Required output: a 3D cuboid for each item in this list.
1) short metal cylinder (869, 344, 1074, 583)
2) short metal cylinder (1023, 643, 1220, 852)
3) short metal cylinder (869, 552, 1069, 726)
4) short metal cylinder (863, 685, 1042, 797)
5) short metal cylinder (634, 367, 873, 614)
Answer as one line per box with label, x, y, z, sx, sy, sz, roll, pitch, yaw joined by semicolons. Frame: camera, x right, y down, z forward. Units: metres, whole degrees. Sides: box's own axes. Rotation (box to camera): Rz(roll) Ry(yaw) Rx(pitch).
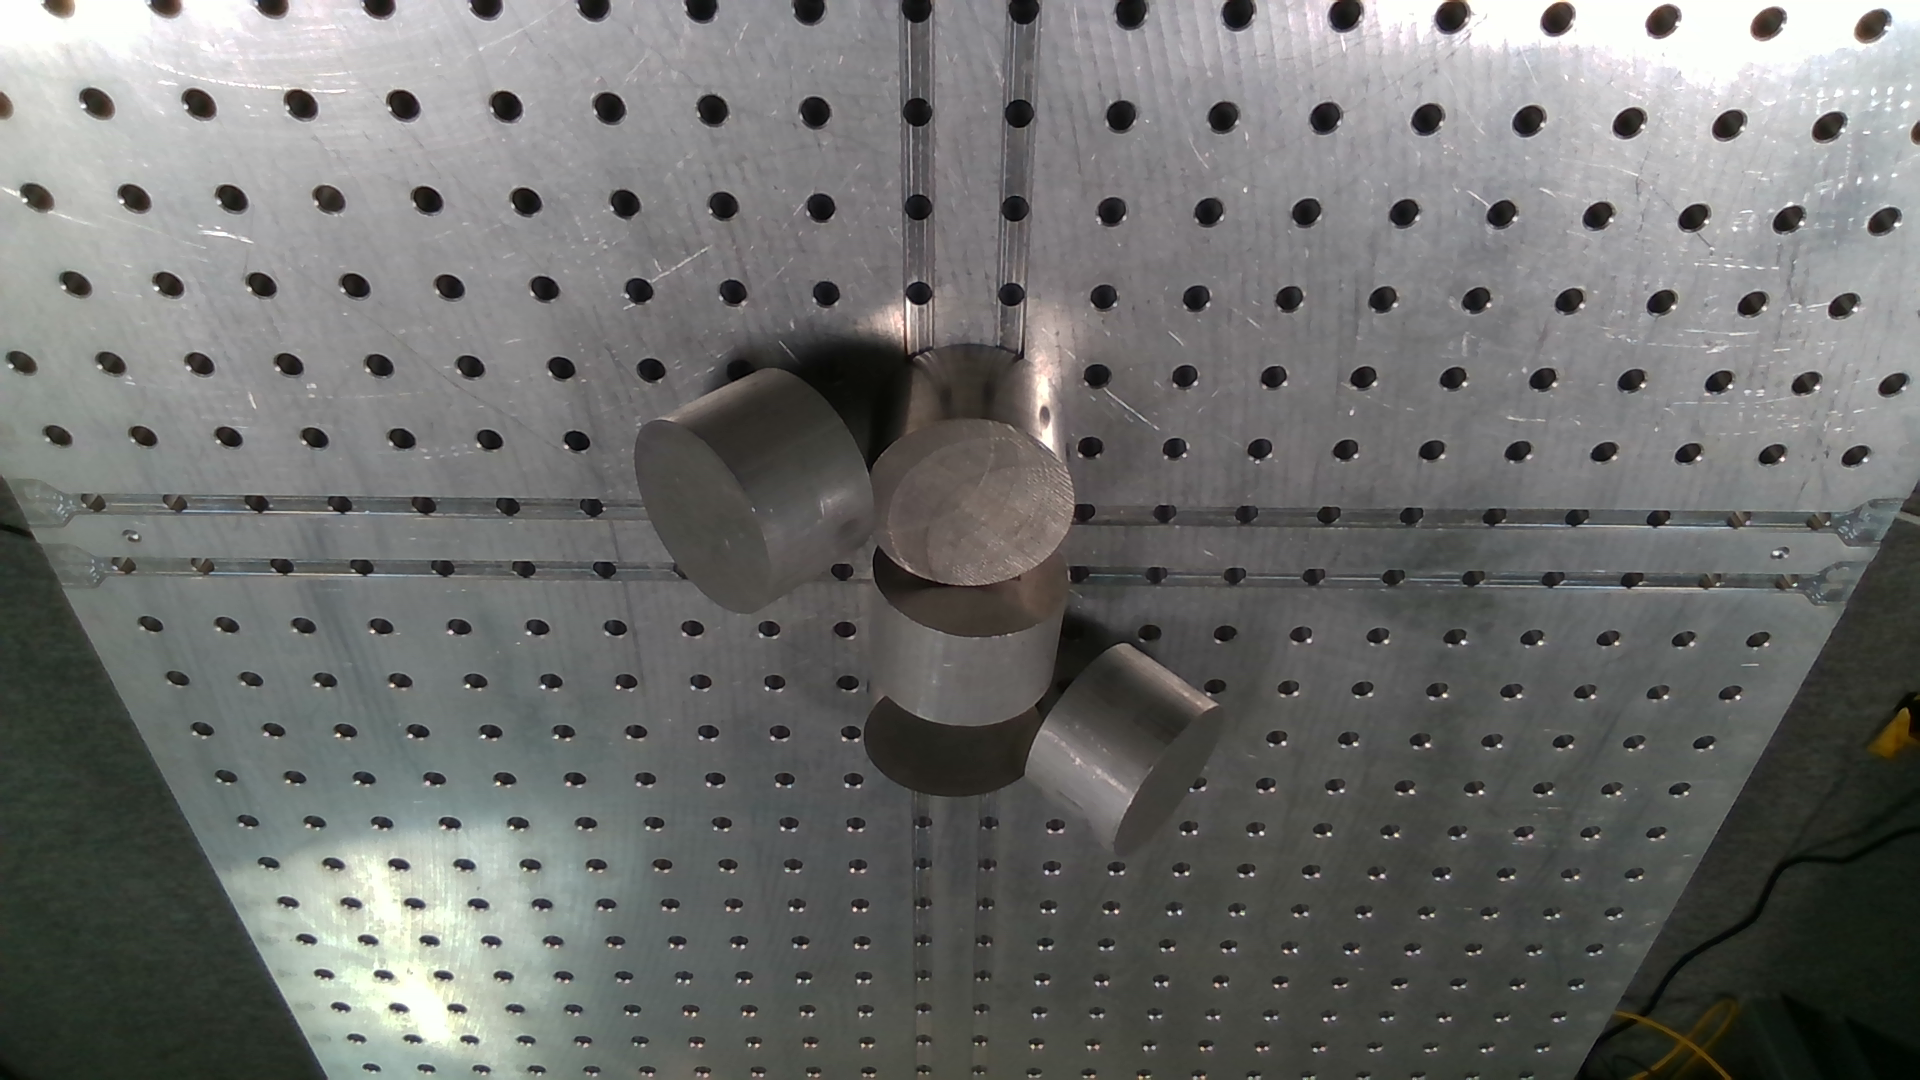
short metal cylinder;0.003;-0.029;0.540;0.080;0.050;0.080;0;130;0
short metal cylinder;0.073;0.093;0.616;0.050;0.080;0.080;35;135;26
short metal cylinder;0.002;0.030;0.572;0.080;0.080;0.050;4;130;-3
short metal cylinder;-0.003;0.071;0.625;0.080;0.050;0.080;0;130;0
short metal cylinder;-0.079;-0.019;0.523;0.080;0.050;0.080;31;138;33
